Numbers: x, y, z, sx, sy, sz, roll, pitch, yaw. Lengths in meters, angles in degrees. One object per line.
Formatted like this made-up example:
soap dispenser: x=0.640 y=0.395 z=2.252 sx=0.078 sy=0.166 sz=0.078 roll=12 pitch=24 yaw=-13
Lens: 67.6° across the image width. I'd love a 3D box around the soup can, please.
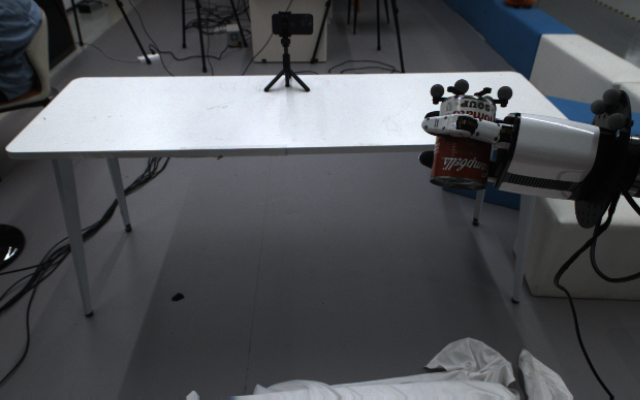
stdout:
soup can: x=0.176 y=-0.068 z=0.588 sx=0.067 sy=0.101 sz=0.067 roll=9 pitch=-6 yaw=1
